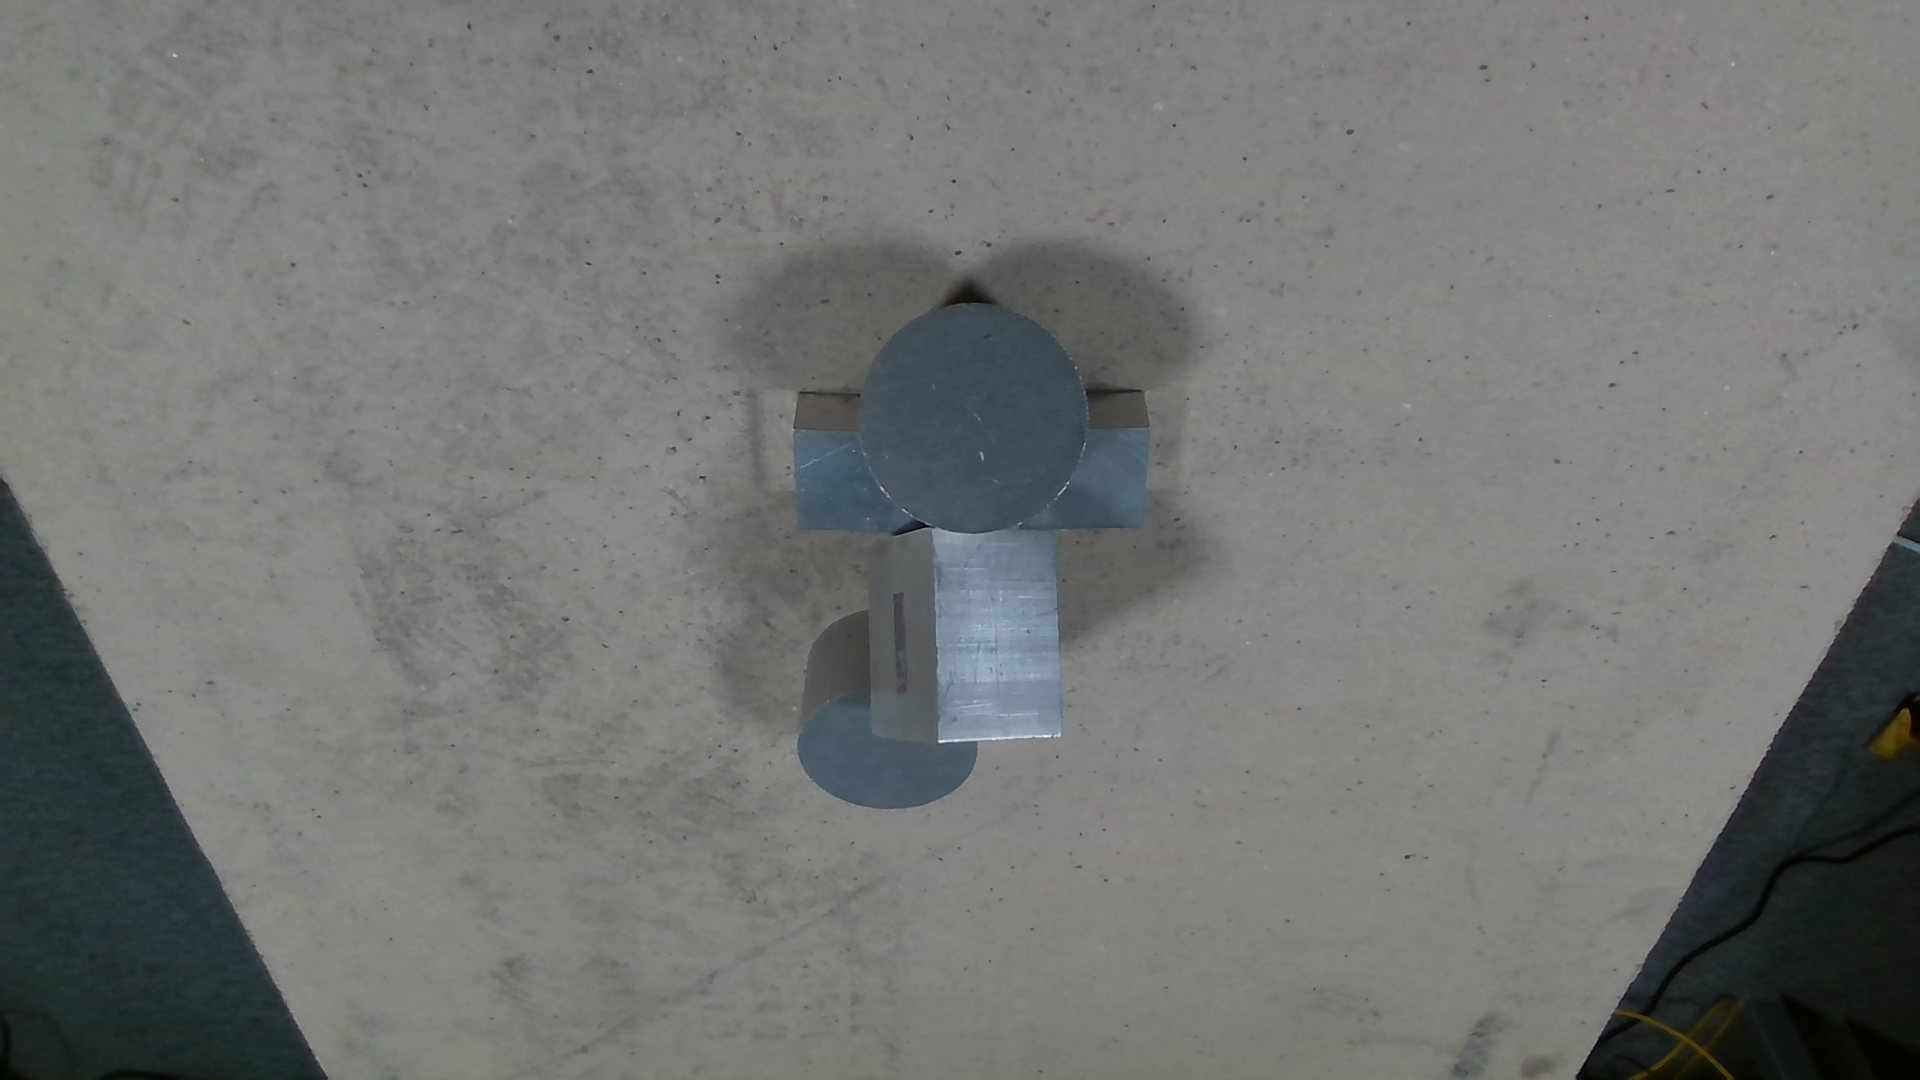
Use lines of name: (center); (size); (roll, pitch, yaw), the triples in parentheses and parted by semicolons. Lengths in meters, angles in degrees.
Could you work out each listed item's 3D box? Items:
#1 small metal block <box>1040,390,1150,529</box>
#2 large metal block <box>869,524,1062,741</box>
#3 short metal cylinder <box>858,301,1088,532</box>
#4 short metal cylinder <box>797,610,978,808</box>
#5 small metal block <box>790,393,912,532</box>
small metal block: (0.048, -0.032, 0.552); (0.050, 0.025, 0.050); (-1, 130, 1)
large metal block: (-0.001, 0.037, 0.551); (0.050, 0.080, 0.080); (0, 175, -21)
short metal cylinder: (0.005, -0.044, 0.502); (0.080, 0.050, 0.080); (0, 94, 1)
short metal cylinder: (-0.032, 0.077, 0.628); (0.080, 0.050, 0.080); (0, 130, 0)
small metal block: (-0.041, -0.031, 0.553); (0.050, 0.025, 0.050); (2, 130, -2)
